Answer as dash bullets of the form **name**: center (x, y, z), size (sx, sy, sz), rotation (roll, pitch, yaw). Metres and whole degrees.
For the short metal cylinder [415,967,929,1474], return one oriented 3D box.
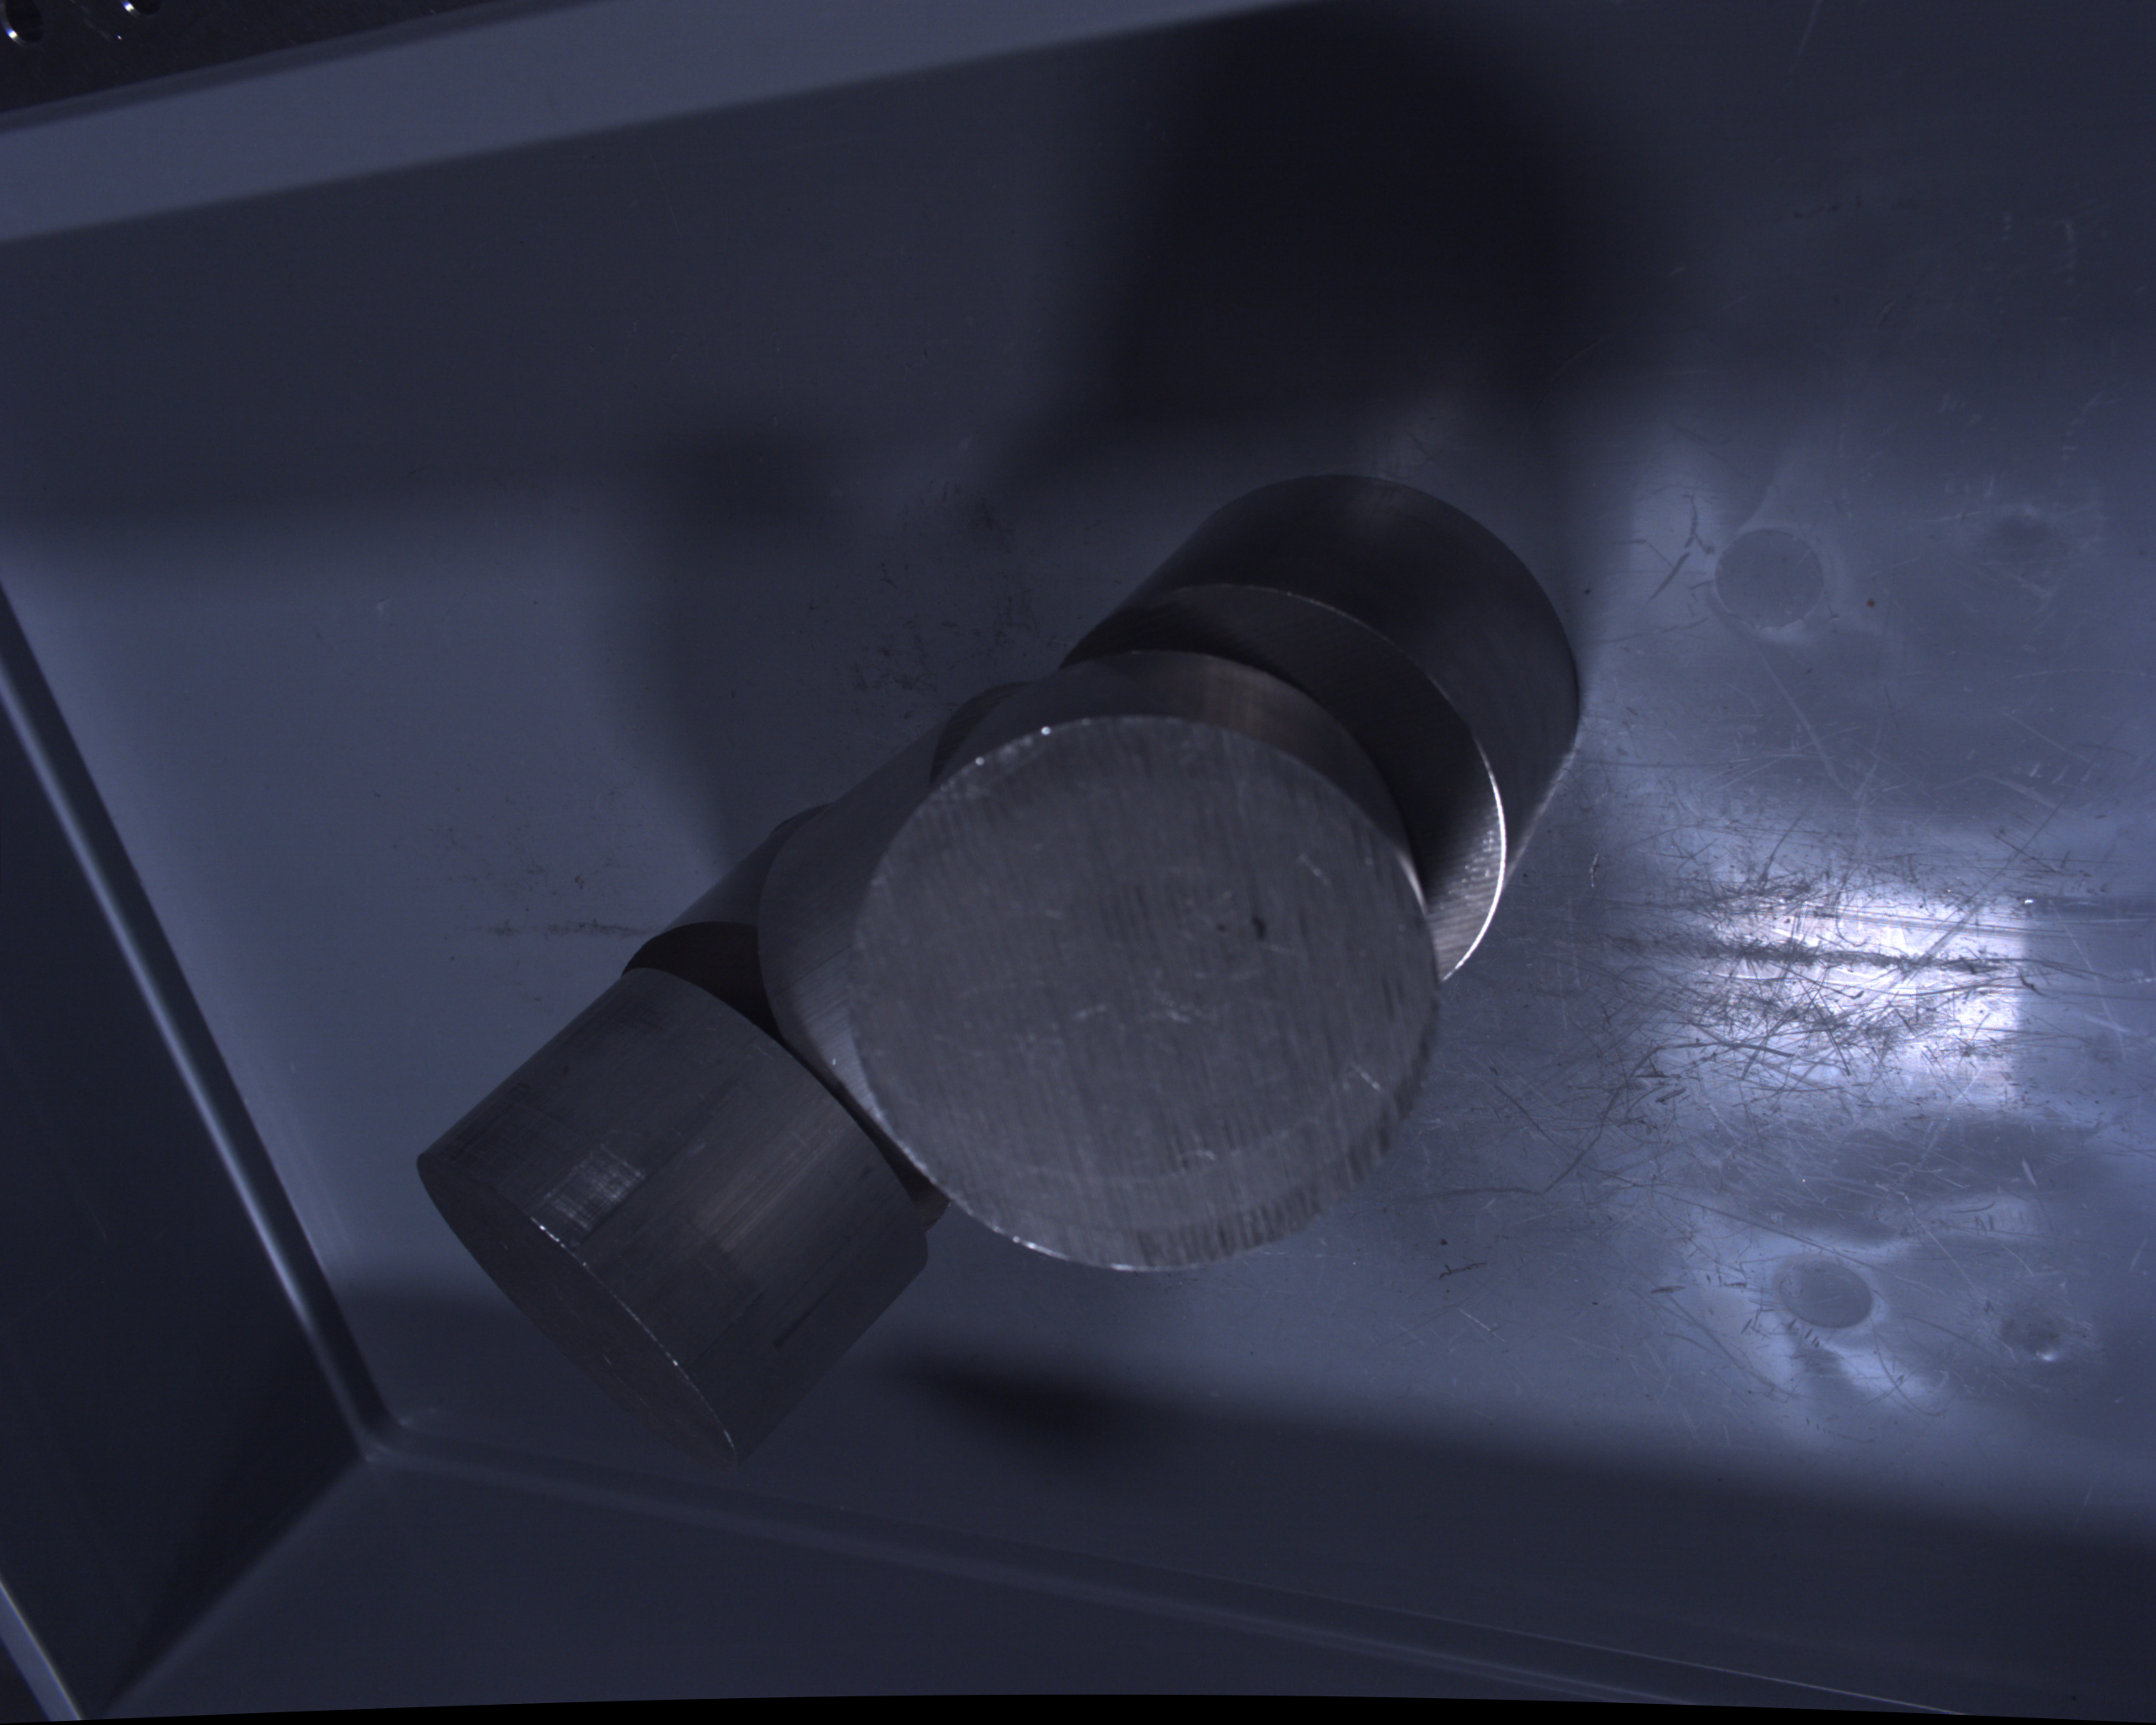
- **short metal cylinder**: center (-0.075, 0.066, 0.385), size (0.080, 0.050, 0.080), rotation (32, 150, 22)

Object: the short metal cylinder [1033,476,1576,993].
- **short metal cylinder**: center (0.039, -0.020, 0.357), size (0.080, 0.050, 0.079), rotation (13, 124, 20)

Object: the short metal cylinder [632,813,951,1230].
- **short metal cylinder**: center (-0.049, 0.035, 0.436), size (0.080, 0.050, 0.079), rotation (13, 124, 20)

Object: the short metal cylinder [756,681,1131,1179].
- **short metal cylinder**: center (-0.011, 0.014, 0.384), size (0.050, 0.080, 0.080), rotation (-33, 100, 38)

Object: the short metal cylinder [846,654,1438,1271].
- **short metal cylinder**: center (0.011, 0.013, 0.307), size (0.080, 0.050, 0.079), rotation (1, 105, 5)
